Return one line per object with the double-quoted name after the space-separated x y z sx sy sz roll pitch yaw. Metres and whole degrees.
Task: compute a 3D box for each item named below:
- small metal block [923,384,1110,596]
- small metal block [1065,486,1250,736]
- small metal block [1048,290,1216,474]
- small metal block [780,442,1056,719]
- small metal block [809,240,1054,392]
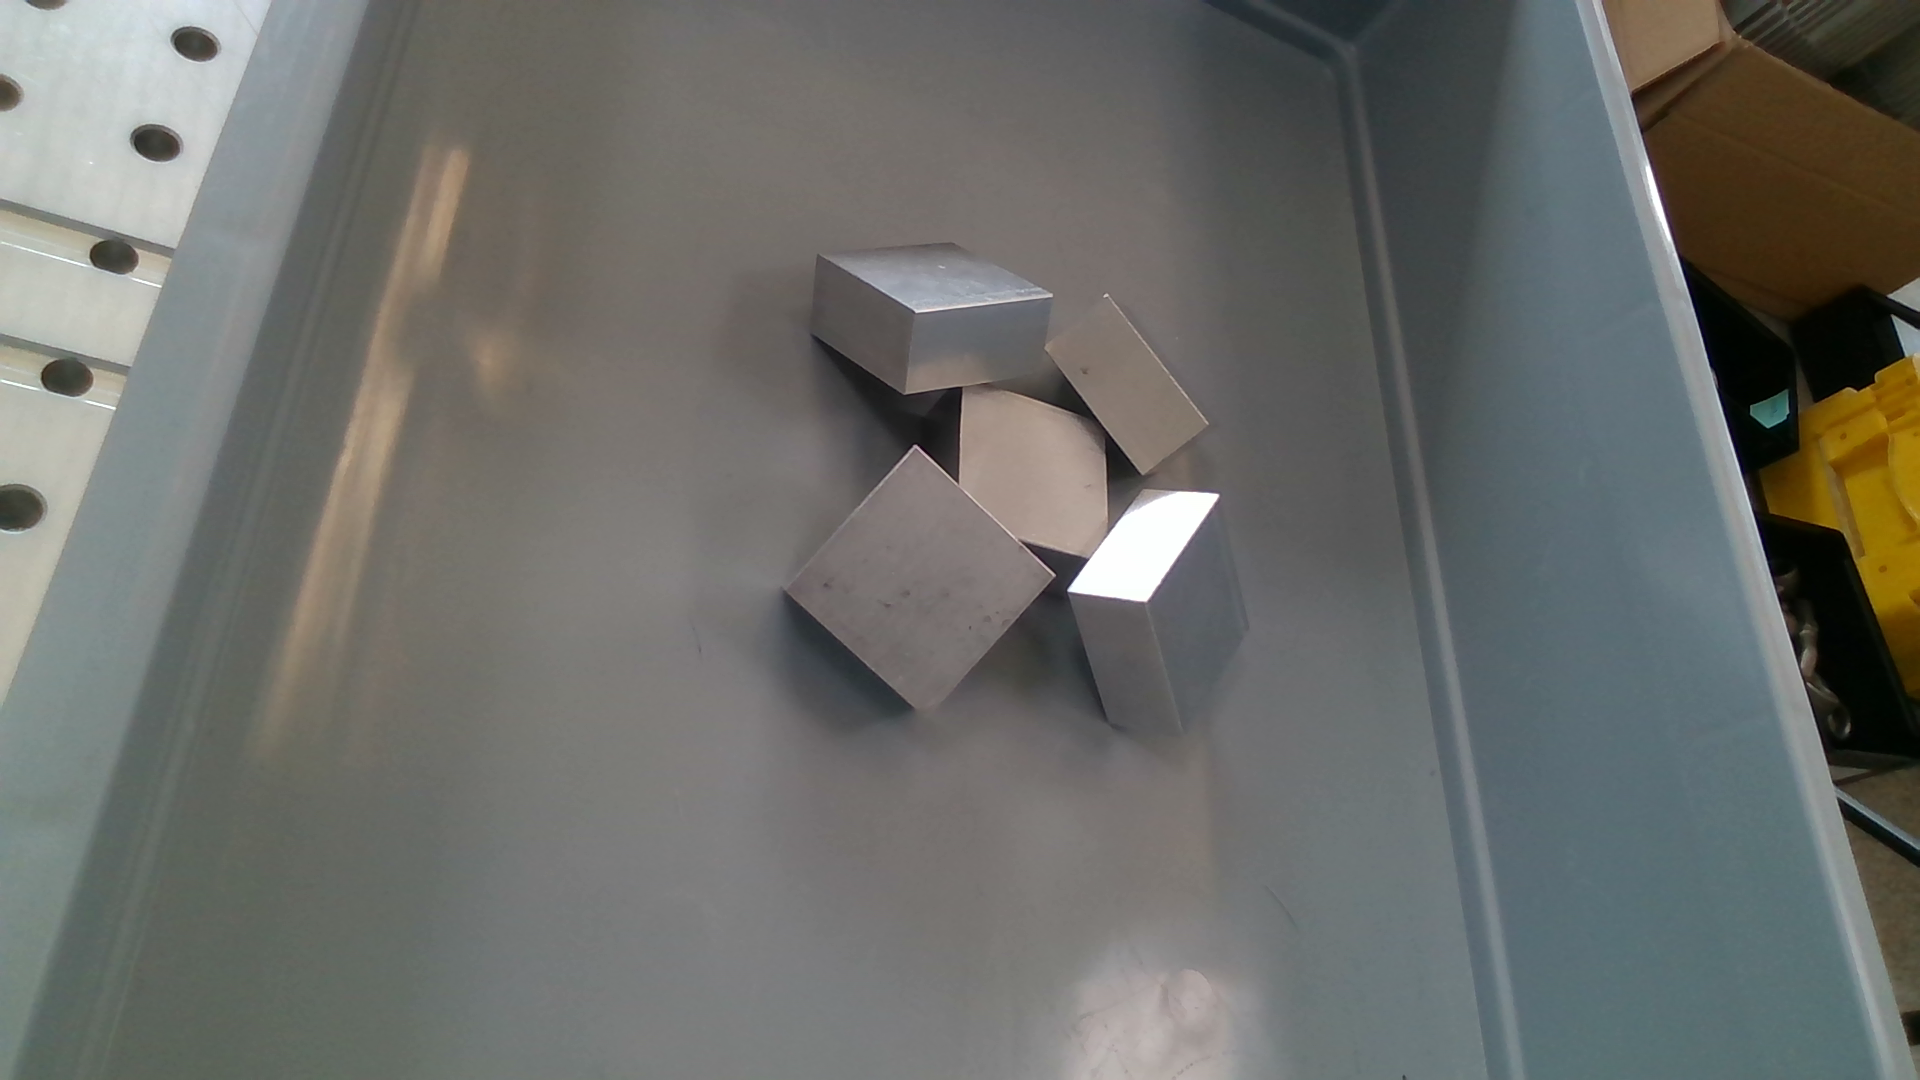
0.016 -0.016 0.409 0.050 0.025 0.050 16 58 -24 "small metal block"
0.059 0.020 0.401 0.050 0.025 0.050 -50 133 -39 "small metal block"
0.055 -0.049 0.435 0.050 0.025 0.050 53 13 4 "small metal block"
-0.012 0.010 0.364 0.050 0.025 0.050 43 85 -6 "small metal block"
-0.009 -0.068 0.407 0.050 0.025 0.050 -13 35 -36 "small metal block"
